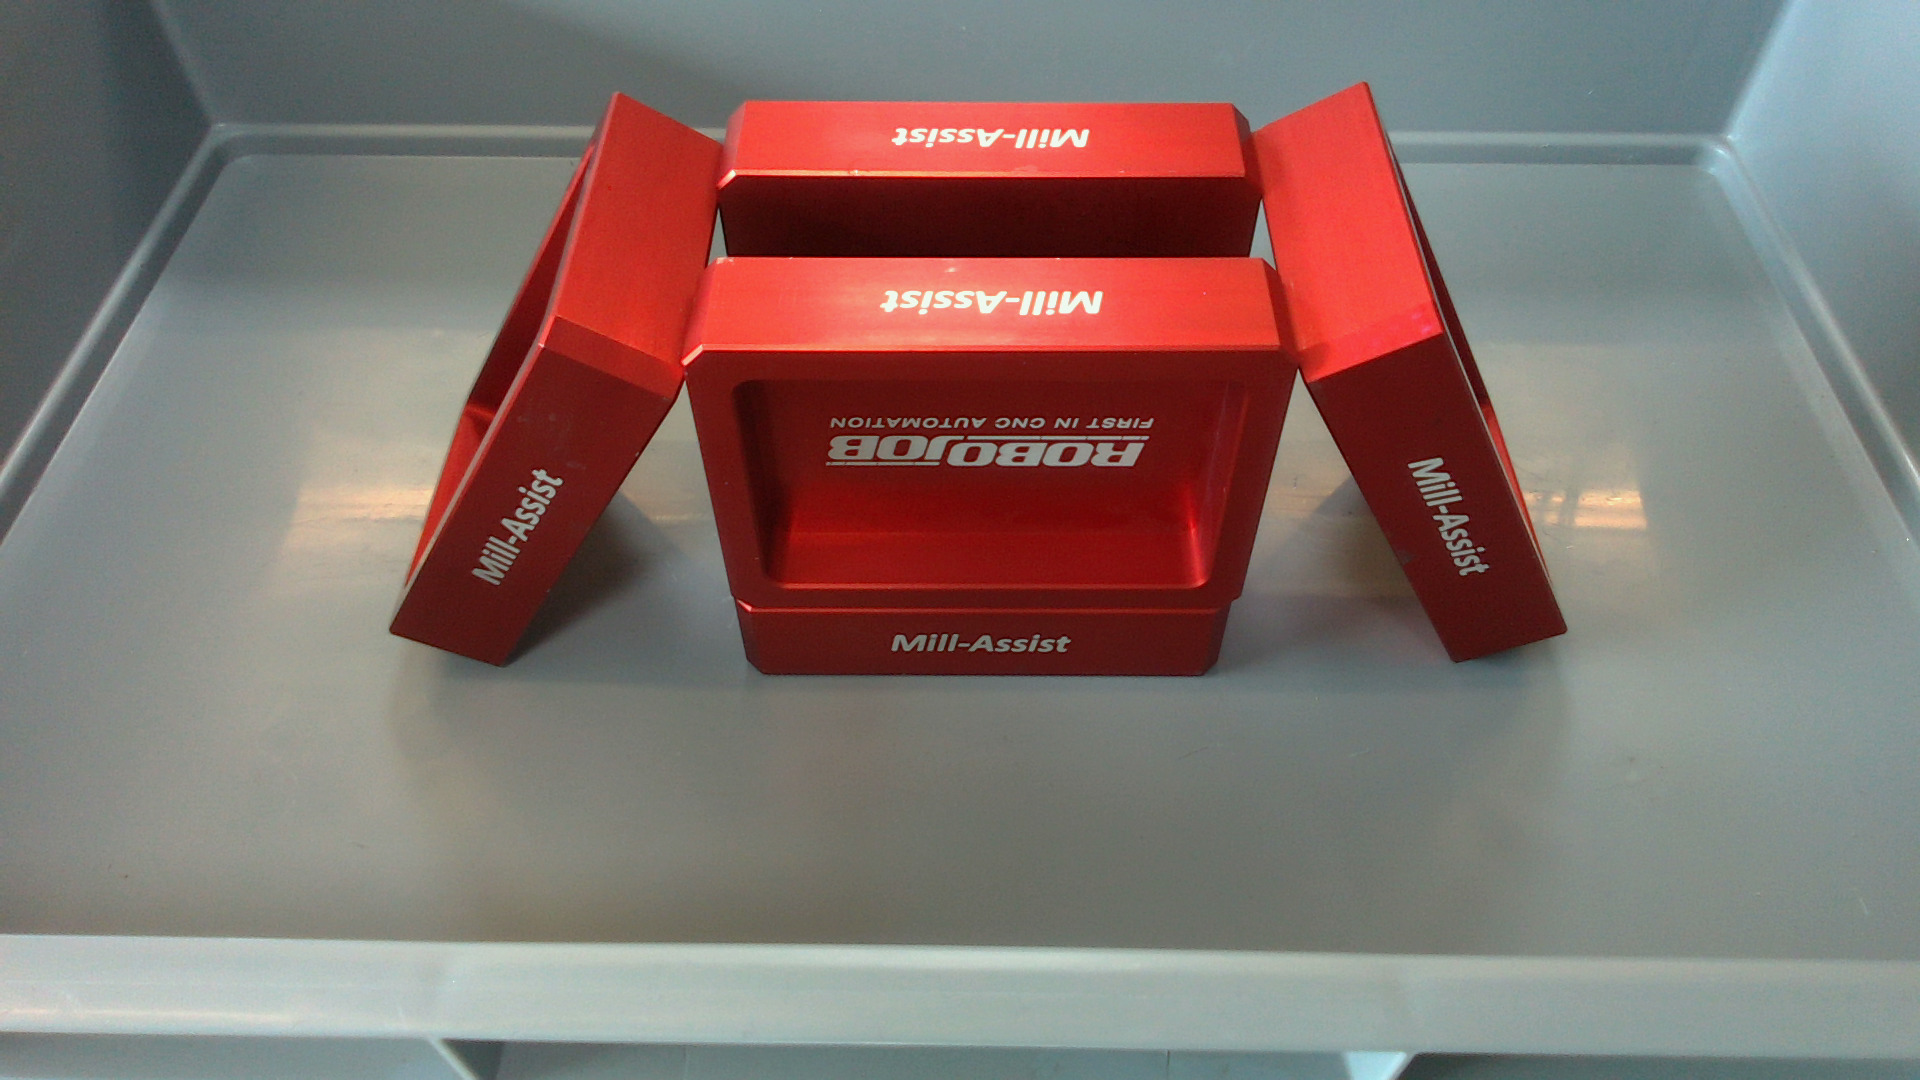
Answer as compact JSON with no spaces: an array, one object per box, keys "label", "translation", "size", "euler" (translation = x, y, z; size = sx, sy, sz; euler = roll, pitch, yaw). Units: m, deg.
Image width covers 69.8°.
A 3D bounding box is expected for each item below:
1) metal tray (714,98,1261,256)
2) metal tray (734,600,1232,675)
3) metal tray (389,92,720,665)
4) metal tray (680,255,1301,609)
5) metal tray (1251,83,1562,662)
[{"label":"metal tray","translation":[0.007,-0.069,0.366],"size":[0.130,0.090,0.030],"euler":[0,50,0]},{"label":"metal tray","translation":[0.006,-0.007,0.393],"size":[0.130,0.030,0.090],"euler":[0,50,-1]},{"label":"metal tray","translation":[-0.105,-0.038,0.355],"size":[0.030,0.130,0.090],"euler":[22,46,-24]},{"label":"metal tray","translation":[0.006,-0.022,0.327],"size":[0.130,0.090,0.030],"euler":[0,49,0]},{"label":"metal tray","translation":[0.117,-0.039,0.356],"size":[0.030,0.130,0.090],"euler":[-20,46,23]}]
